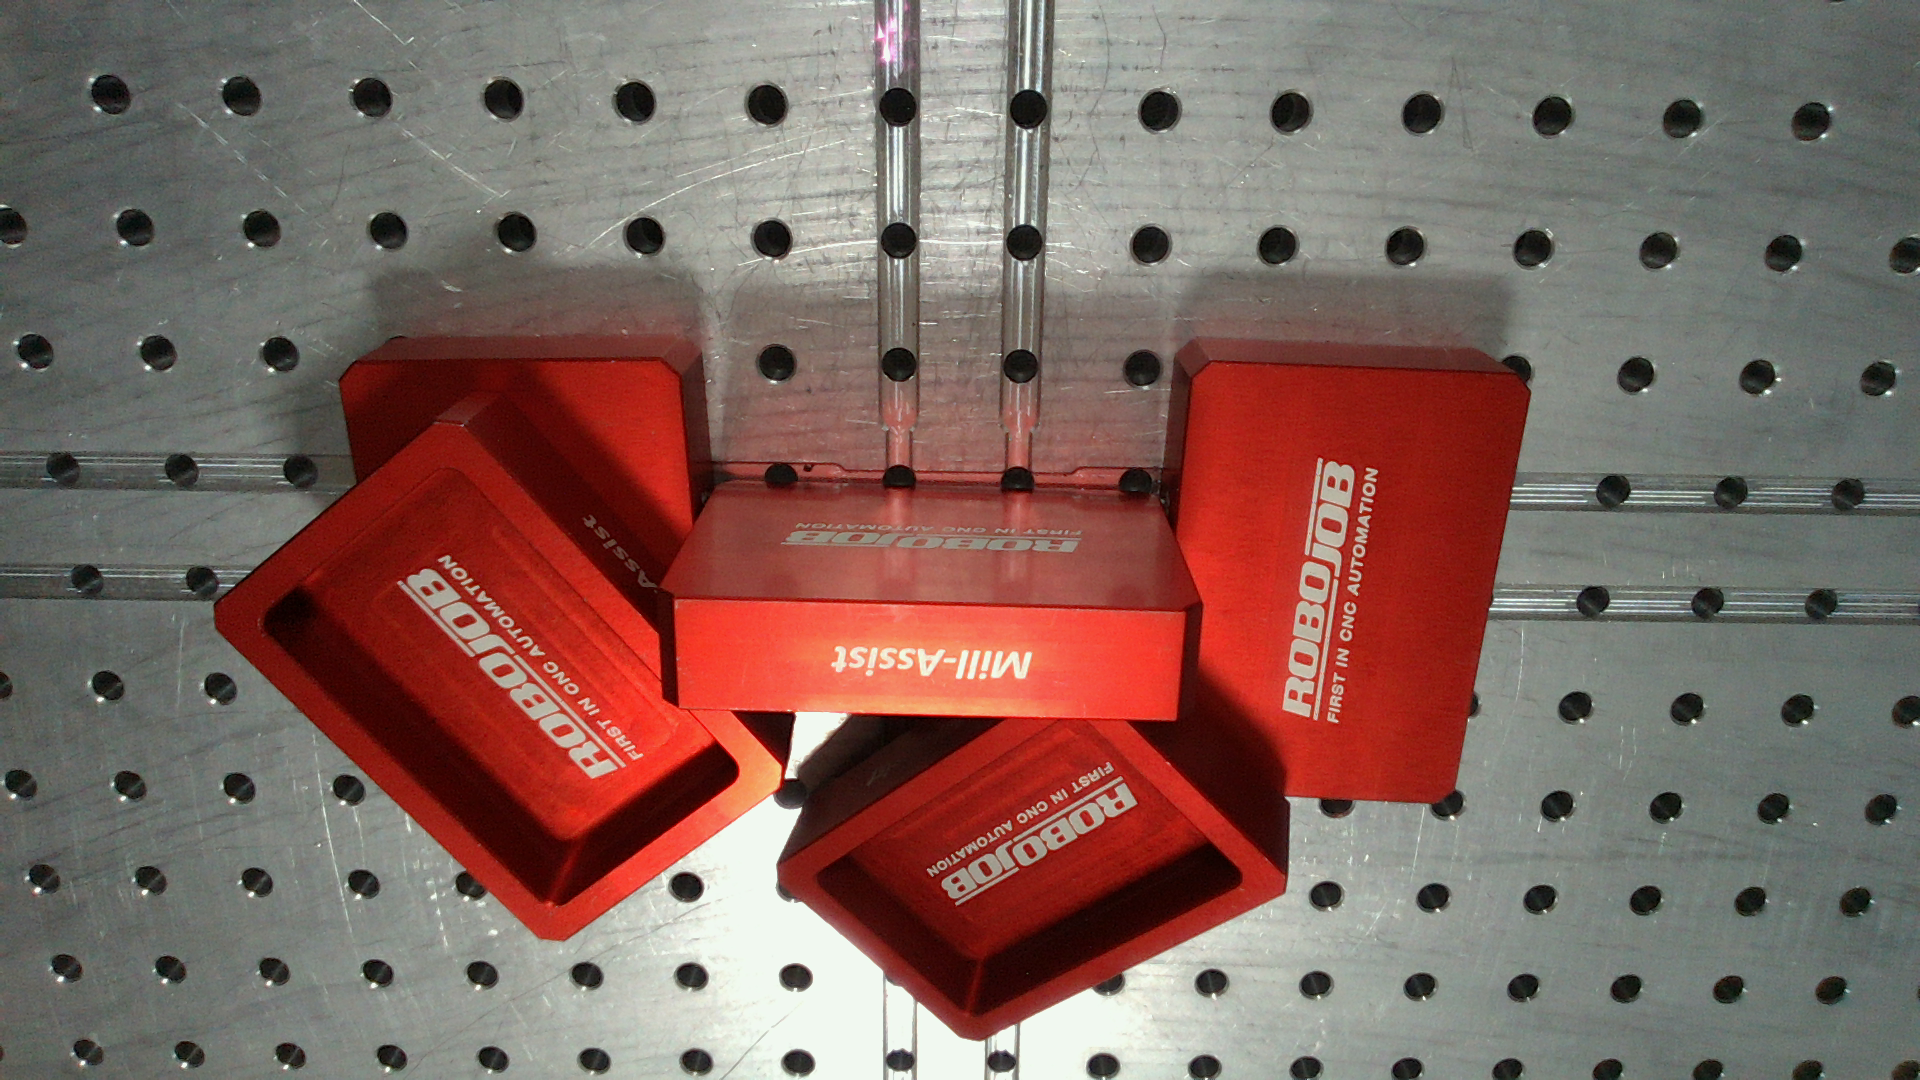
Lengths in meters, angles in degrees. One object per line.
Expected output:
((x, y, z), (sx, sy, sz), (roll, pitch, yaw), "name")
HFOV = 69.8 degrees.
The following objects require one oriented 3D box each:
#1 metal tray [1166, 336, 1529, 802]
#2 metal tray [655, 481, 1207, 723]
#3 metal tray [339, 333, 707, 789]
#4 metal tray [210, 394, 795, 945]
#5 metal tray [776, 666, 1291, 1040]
((0.103, 0.010, 0.397), (0.090, 0.030, 0.130), (2, 110, -1), "metal tray")
((-0.007, 0.013, 0.366), (0.130, 0.090, 0.030), (1, 110, -1), "metal tray")
((-0.117, 0.008, 0.396), (0.090, 0.030, 0.130), (-1, 111, 1), "metal tray")
((-0.119, 0.038, 0.373), (0.090, 0.030, 0.130), (-36, 107, 12), "metal tray")
((0.020, 0.090, 0.407), (0.090, 0.030, 0.130), (44, 121, -15), "metal tray")
